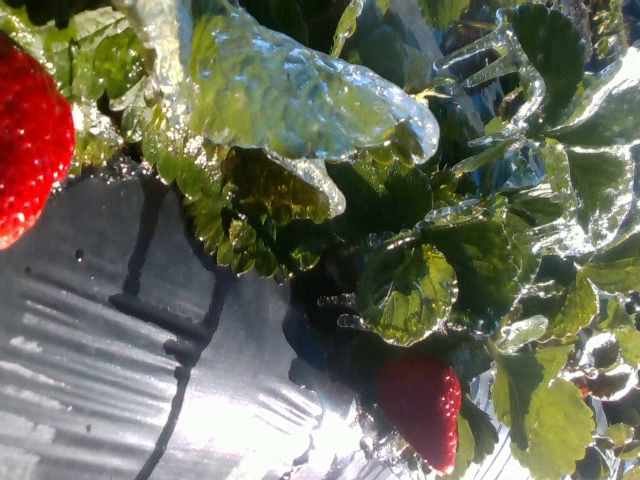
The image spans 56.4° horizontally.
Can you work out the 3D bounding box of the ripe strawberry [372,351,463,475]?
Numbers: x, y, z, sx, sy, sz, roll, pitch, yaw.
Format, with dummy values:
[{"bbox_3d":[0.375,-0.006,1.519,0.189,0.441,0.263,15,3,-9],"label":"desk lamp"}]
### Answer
[{"bbox_3d":[0.046,0.075,0.249,0.047,0.053,0.041,-32,-44,20],"label":"ripe strawberry"}]
